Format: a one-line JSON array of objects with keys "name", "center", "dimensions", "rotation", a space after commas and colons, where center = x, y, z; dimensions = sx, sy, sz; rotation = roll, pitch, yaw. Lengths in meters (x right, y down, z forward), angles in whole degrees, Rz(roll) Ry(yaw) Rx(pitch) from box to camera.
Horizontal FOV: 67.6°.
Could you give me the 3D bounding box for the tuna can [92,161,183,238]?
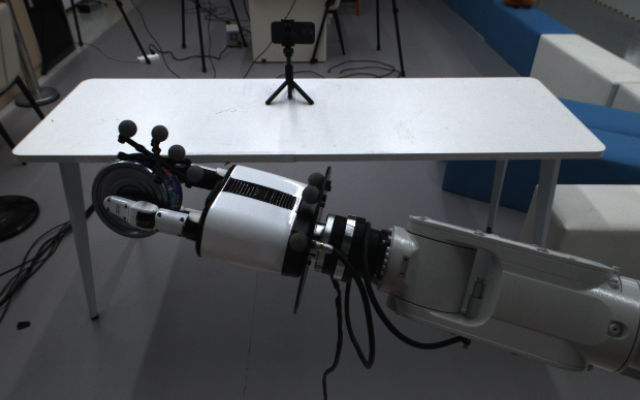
[{"name": "tuna can", "center": [-0.188, 0.002, 0.504], "dimensions": [0.085, 0.085, 0.034], "rotation": [6, 19, 6]}]
